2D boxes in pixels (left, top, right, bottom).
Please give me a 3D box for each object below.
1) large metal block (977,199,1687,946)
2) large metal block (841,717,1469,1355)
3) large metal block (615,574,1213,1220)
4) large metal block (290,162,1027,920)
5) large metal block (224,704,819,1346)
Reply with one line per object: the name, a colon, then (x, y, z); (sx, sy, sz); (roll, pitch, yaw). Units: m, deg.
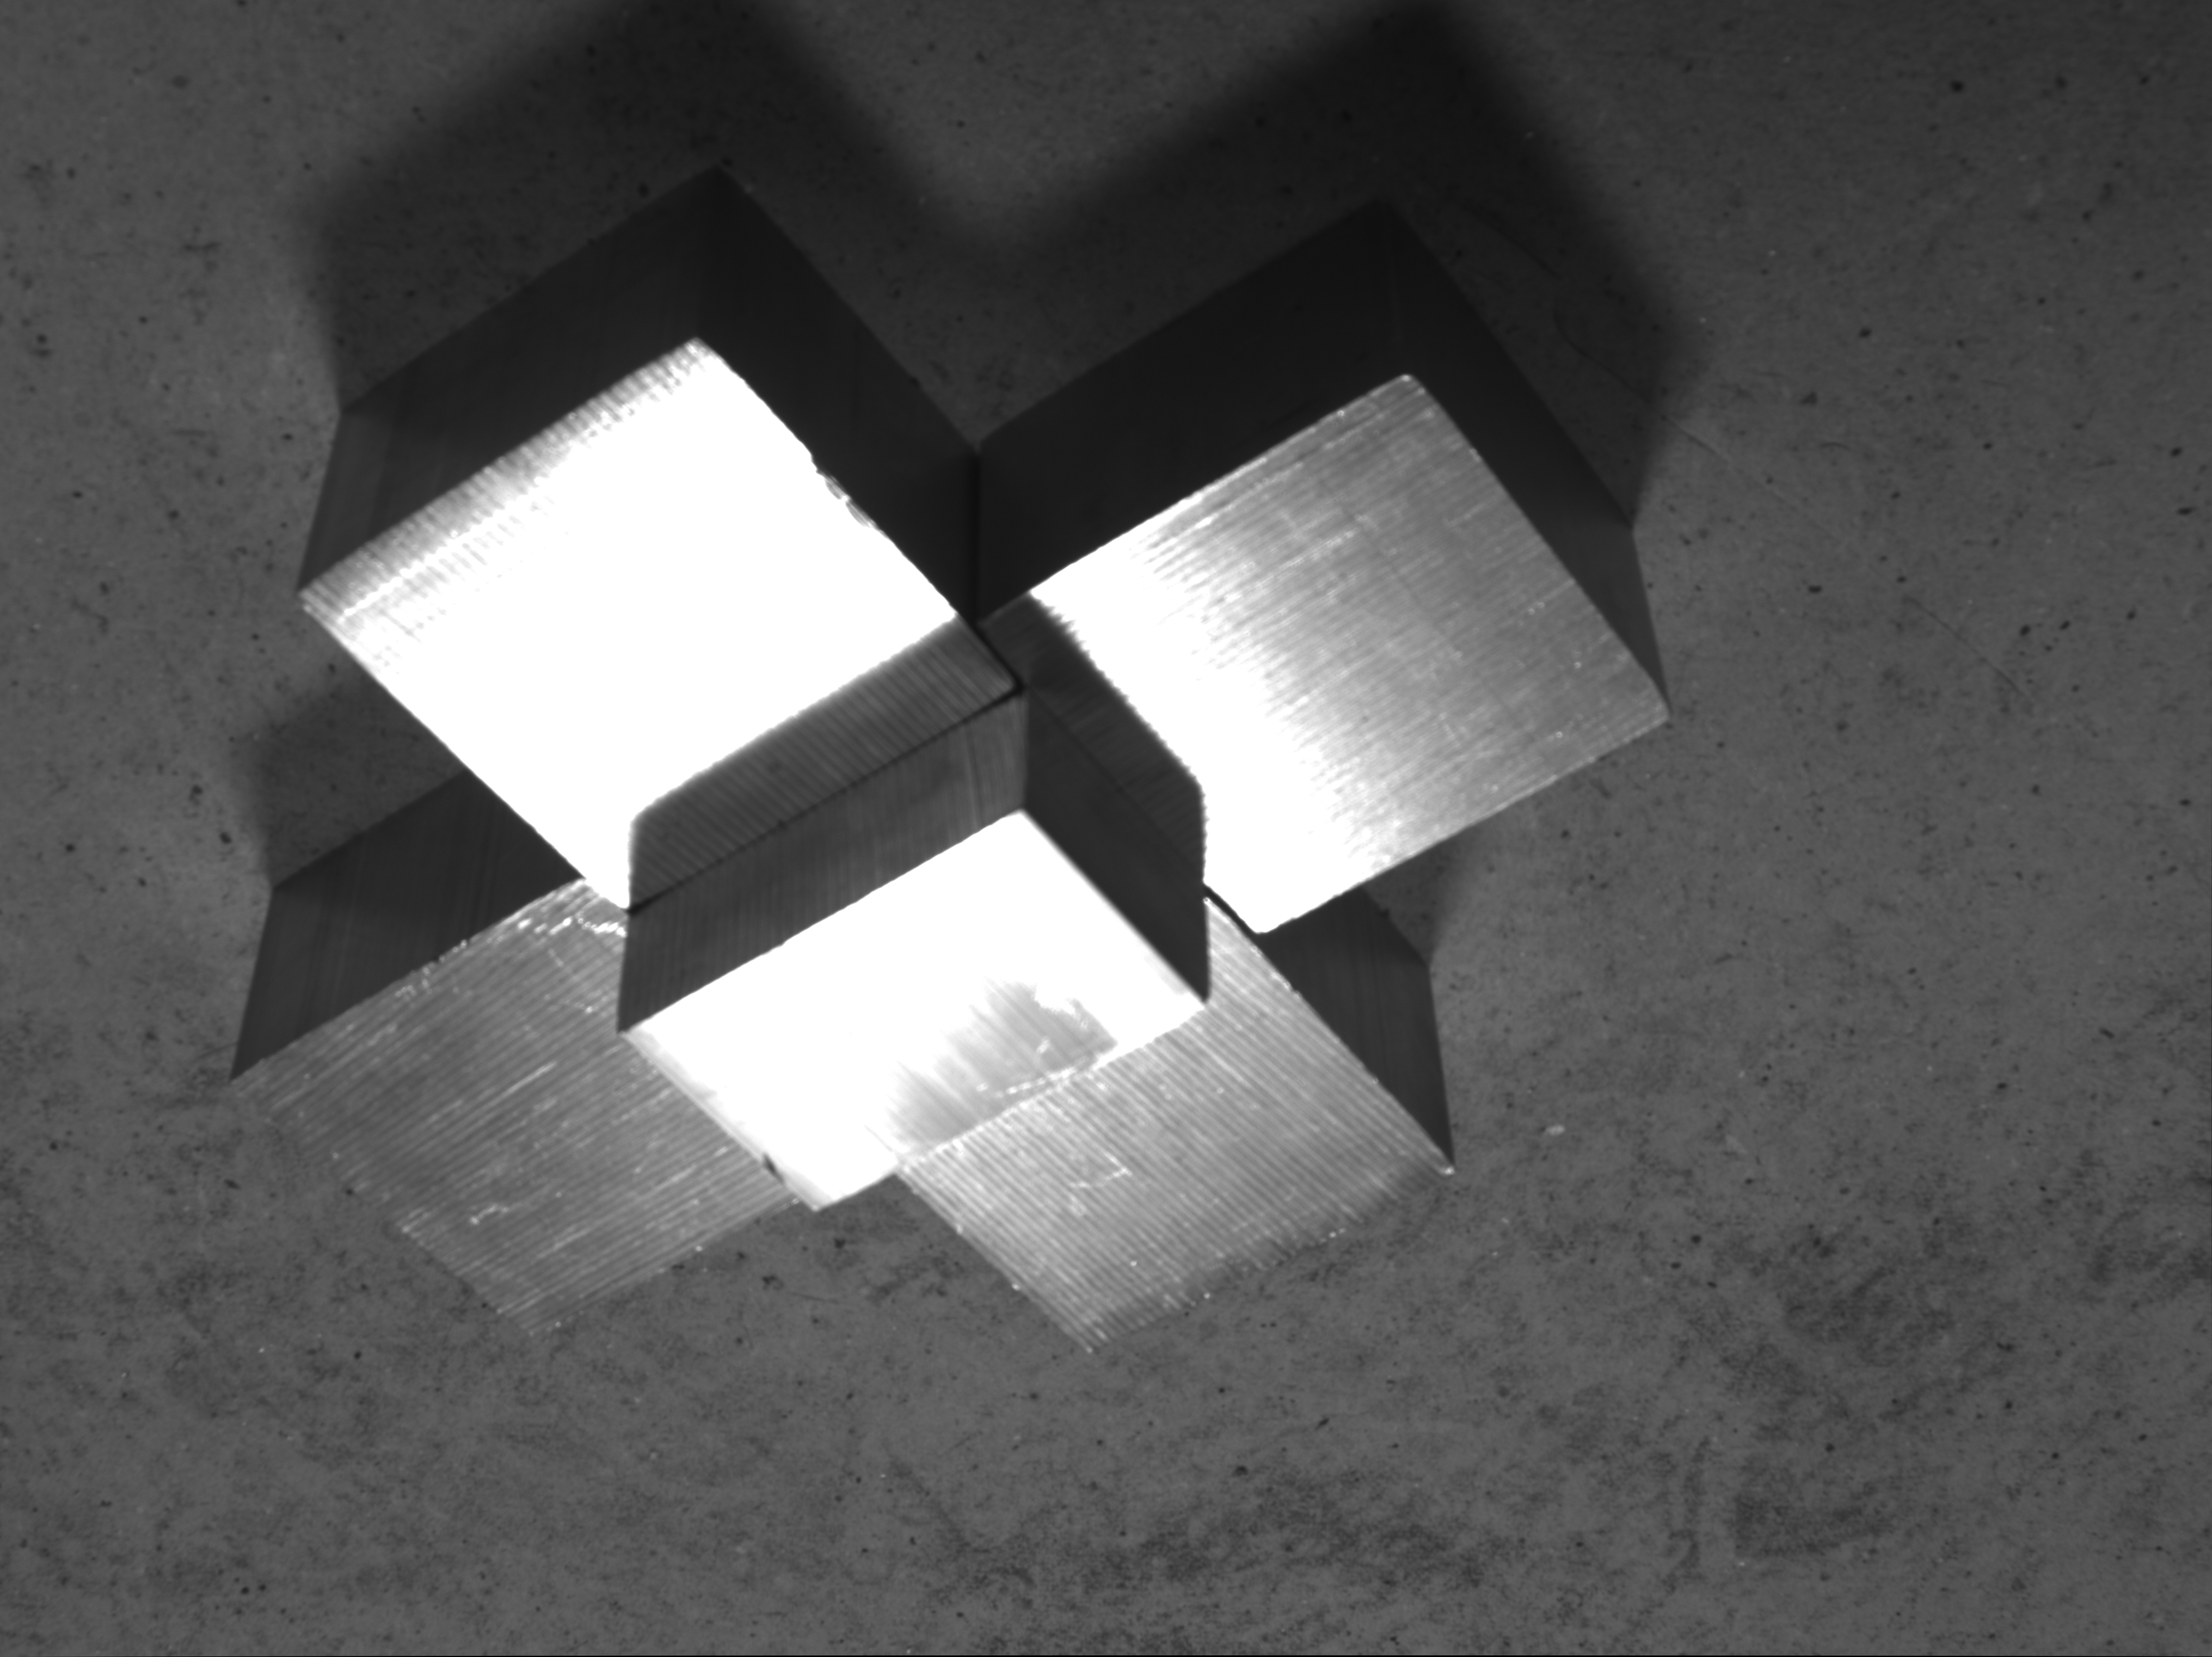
large metal block: (0.035, -0.040, 0.589); (0.080, 0.050, 0.080); (-29, 125, 21)
large metal block: (0.007, 0.037, 0.653); (0.080, 0.050, 0.080); (-29, 125, 21)
large metal block: (-0.031, 0.005, 0.606); (0.080, 0.080, 0.050); (-29, 125, 21)
large metal block: (-0.069, -0.044, 0.582); (0.080, 0.050, 0.080); (-29, 125, 21)
large metal block: (-0.094, 0.035, 0.647); (0.080, 0.050, 0.080); (-29, 125, 21)
